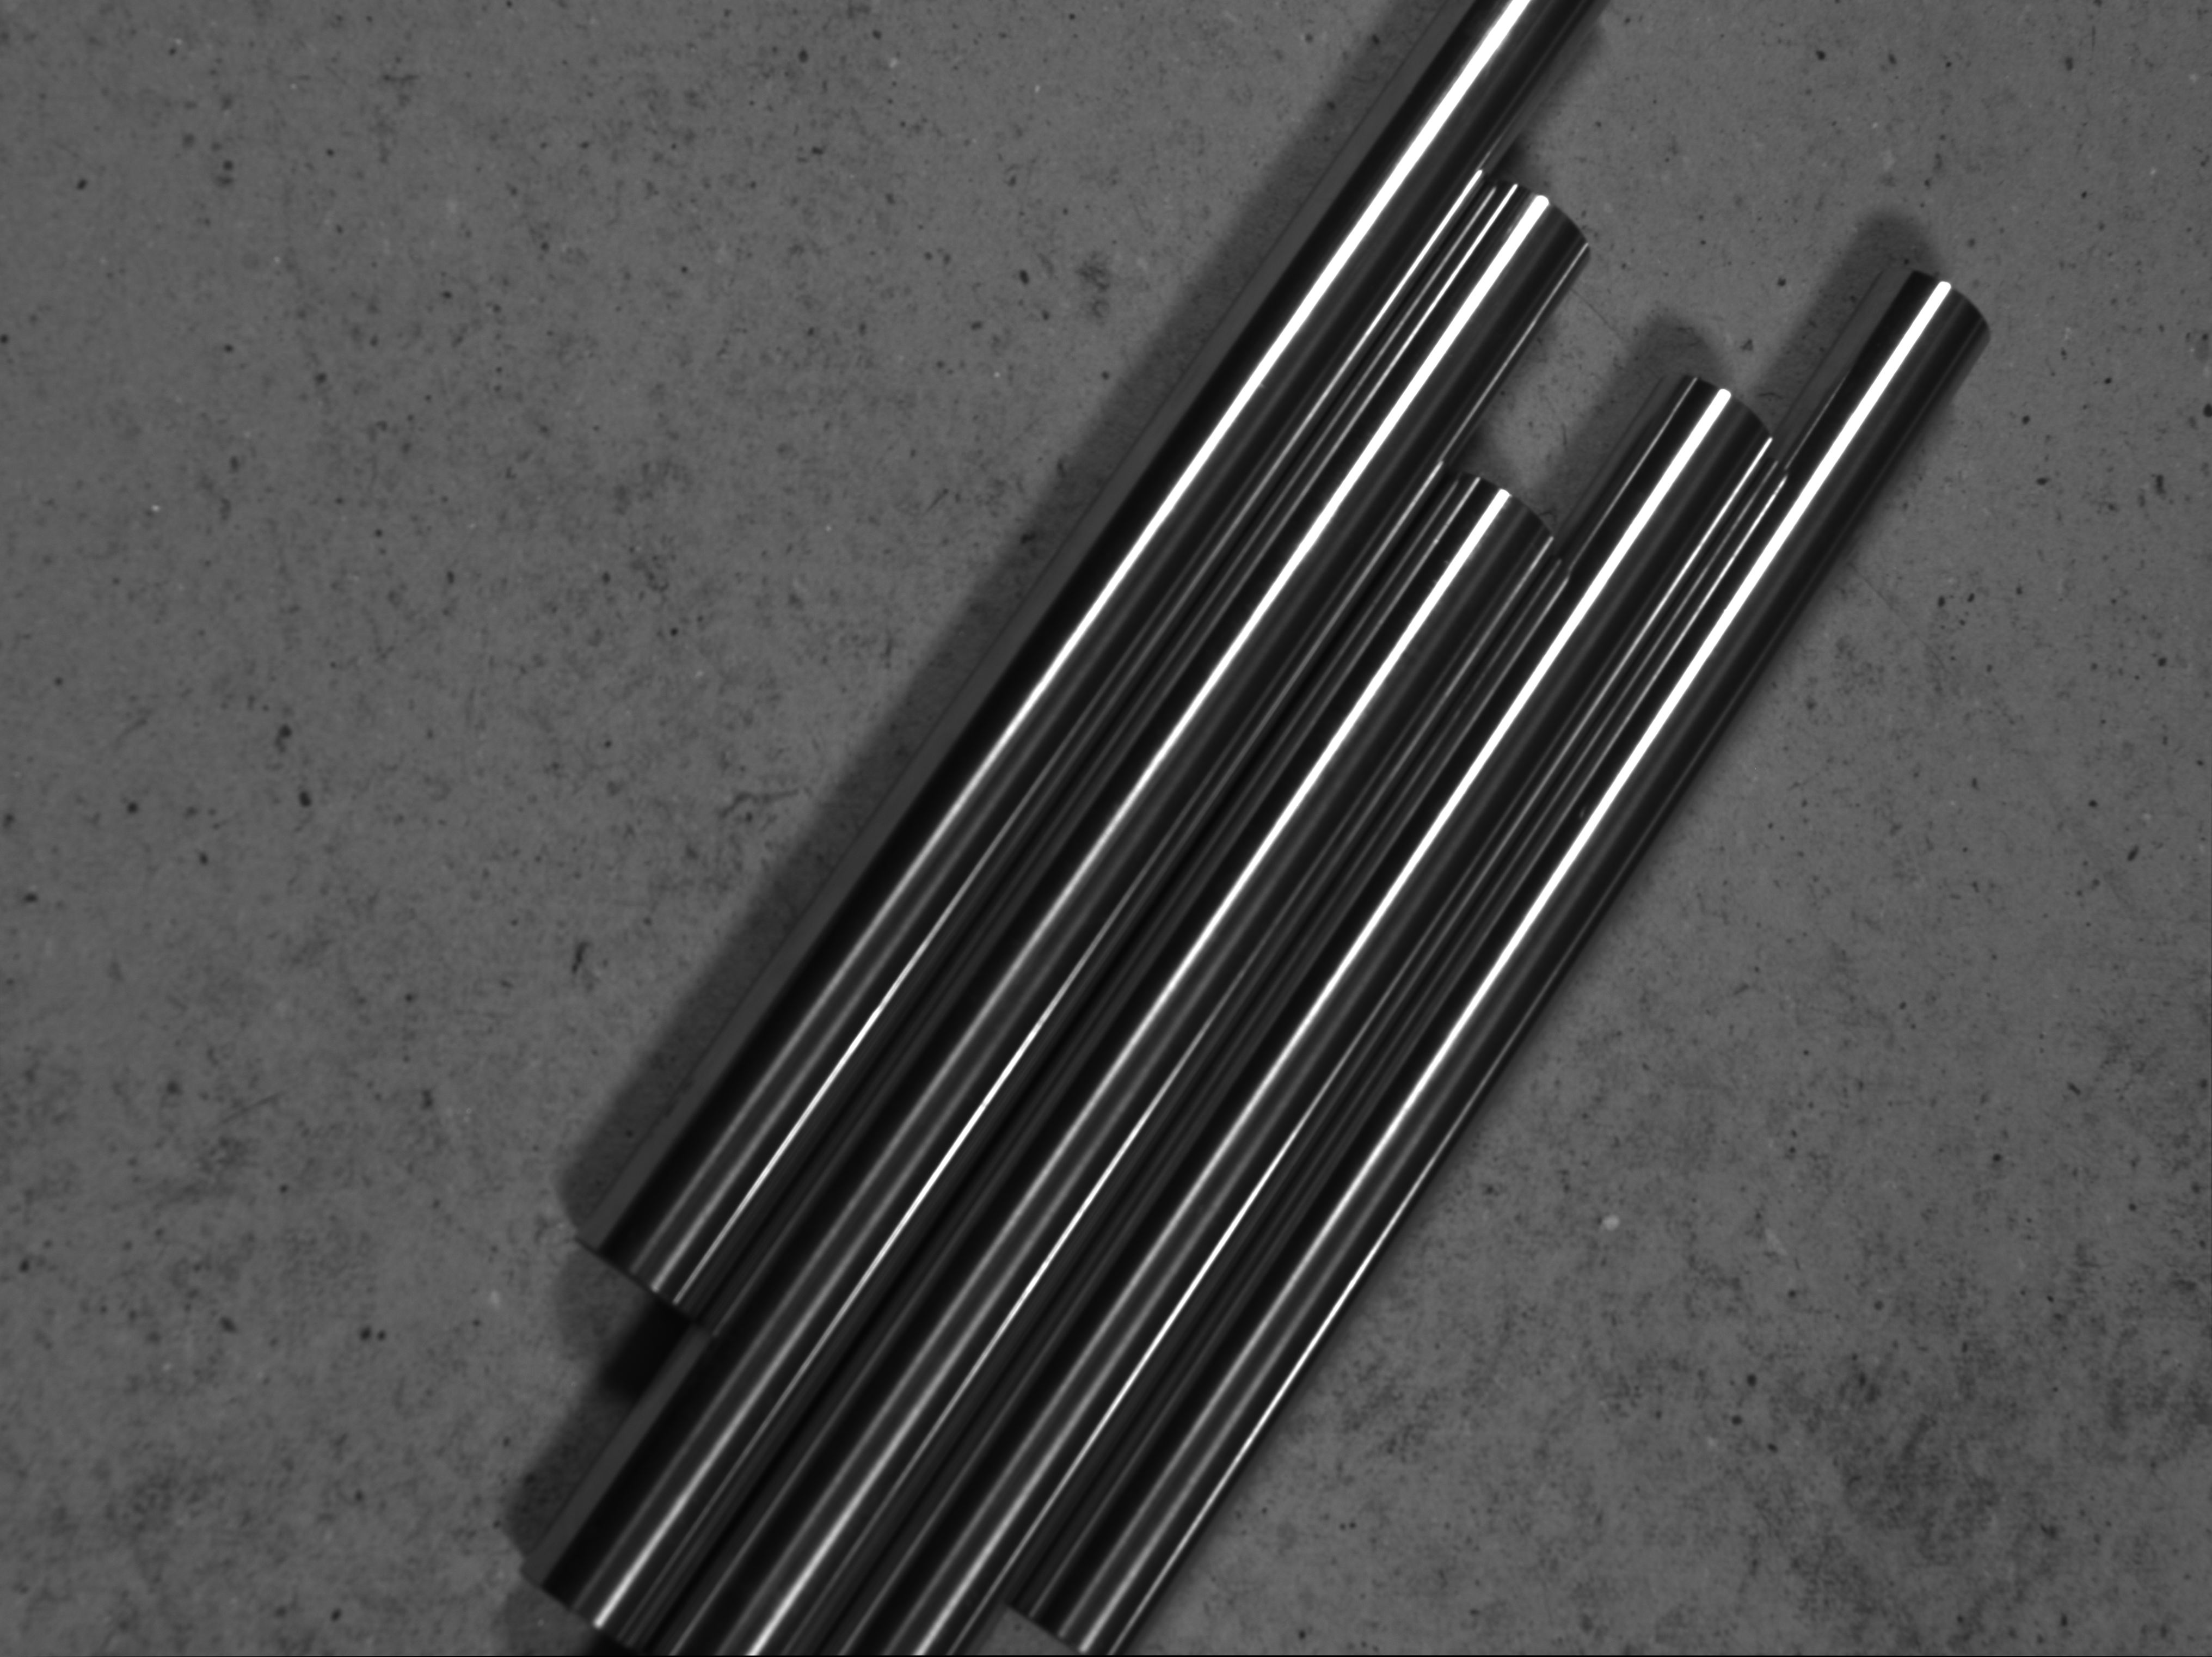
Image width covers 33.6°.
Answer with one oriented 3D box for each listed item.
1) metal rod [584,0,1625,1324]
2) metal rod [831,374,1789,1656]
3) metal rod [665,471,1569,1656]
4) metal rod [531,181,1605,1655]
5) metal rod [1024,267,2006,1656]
[{"bbox_3d":[0.006,-0.045,0.646,0.025,0.025,0.300,38,78,-16],"label":"metal rod"},{"bbox_3d":[0.033,0.044,0.655,0.025,0.025,0.300,38,78,-16],"label":"metal rod"},{"bbox_3d":[-0.009,0.063,0.640,0.025,0.025,0.300,38,78,-16],"label":"metal rod"},{"bbox_3d":[-0.002,0.010,0.643,0.025,0.025,0.300,38,78,-16],"label":"metal rod"},{"bbox_3d":[0.078,0.022,0.671,0.025,0.025,0.300,38,78,-16],"label":"metal rod"}]
